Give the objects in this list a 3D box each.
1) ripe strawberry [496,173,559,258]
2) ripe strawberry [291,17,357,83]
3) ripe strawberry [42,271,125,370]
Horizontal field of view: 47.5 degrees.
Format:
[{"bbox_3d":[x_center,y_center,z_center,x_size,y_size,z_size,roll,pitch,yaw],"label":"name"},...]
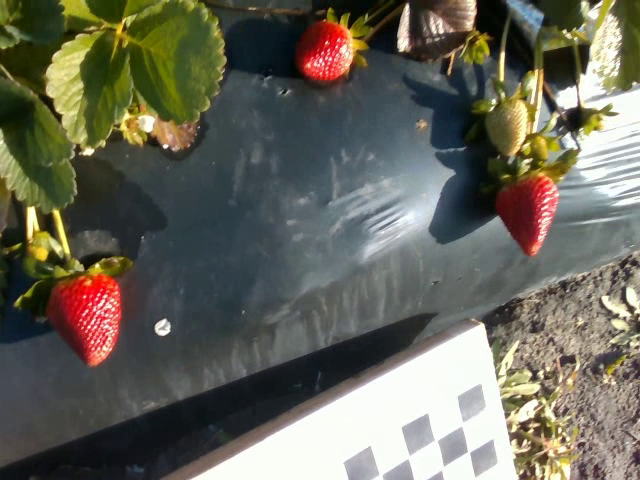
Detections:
[{"bbox_3d":[0.129,-0.013,0.453,0.042,0.059,0.042,0,-2,-31],"label":"ripe strawberry"},{"bbox_3d":[0.001,-0.104,0.401,0.046,0.035,0.035,-27,20,-30],"label":"ripe strawberry"},{"bbox_3d":[-0.119,0.041,0.372,0.045,0.055,0.042,-16,-15,-28],"label":"ripe strawberry"}]
